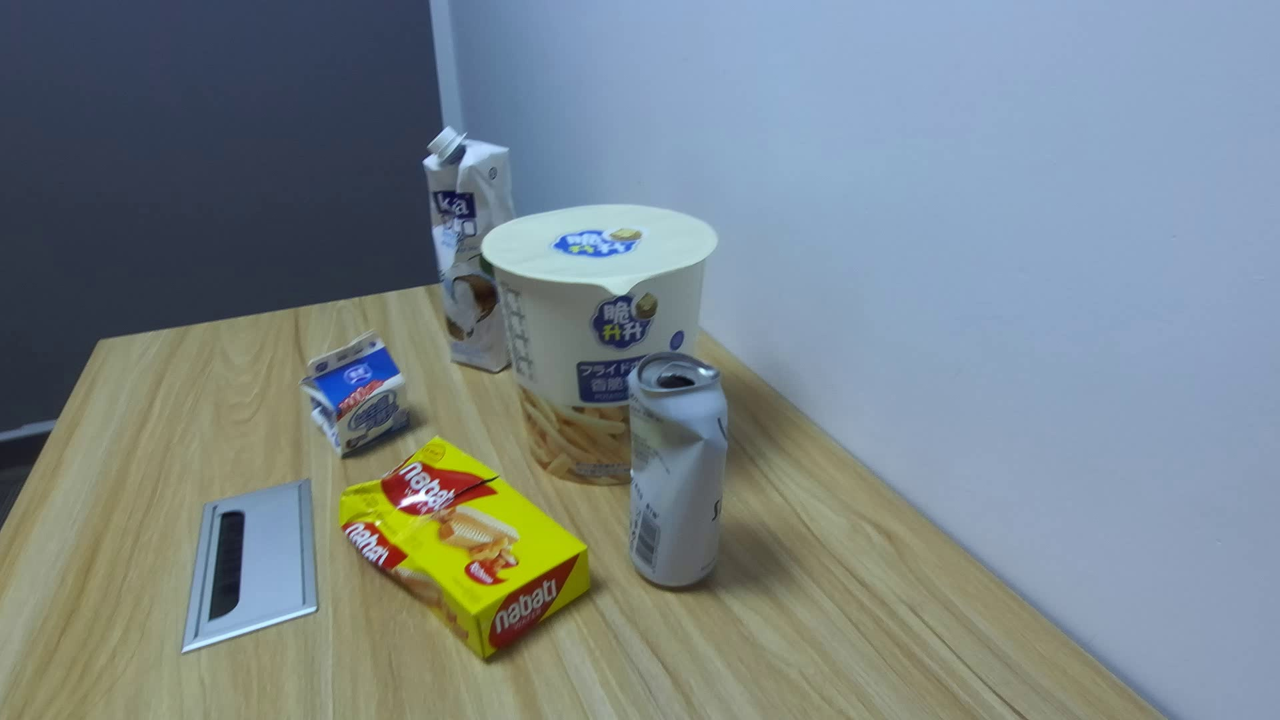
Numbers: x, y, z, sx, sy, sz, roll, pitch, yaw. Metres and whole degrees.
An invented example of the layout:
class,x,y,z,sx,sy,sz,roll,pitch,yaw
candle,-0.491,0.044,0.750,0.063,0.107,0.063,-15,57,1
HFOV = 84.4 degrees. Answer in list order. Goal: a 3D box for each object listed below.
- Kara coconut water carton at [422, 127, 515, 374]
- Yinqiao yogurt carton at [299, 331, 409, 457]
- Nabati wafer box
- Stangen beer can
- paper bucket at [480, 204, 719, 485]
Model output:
class,x,y,z,sx,sy,sz,roll,pitch,yaw
Kara coconut water carton,-0.174,-0.117,0.746,0.083,0.256,0.078,23,38,35
Yinqiao yogurt carton,-0.271,0.024,0.660,0.080,0.097,0.075,28,40,31
Nabati wafer box,-0.141,0.128,0.526,0.107,0.042,0.203,-25,36,-38
Stangen beer can,0.025,0.077,0.483,0.077,0.162,0.066,8,31,15
paper bucket,-0.030,-0.015,0.619,0.198,0.195,0.198,-1,29,1
